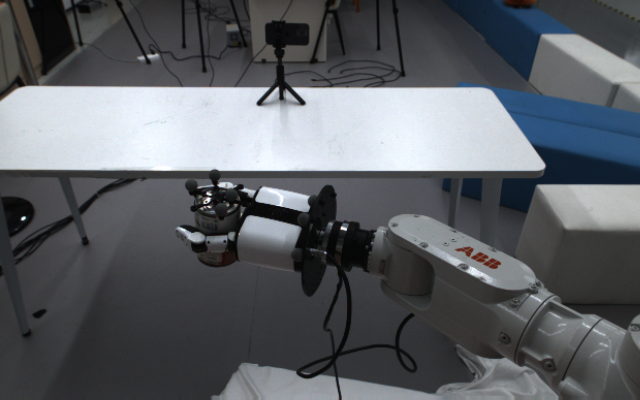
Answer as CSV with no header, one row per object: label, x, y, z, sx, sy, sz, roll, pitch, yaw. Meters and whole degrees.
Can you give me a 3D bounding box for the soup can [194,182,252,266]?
soup can,-0.150,0.042,0.716,0.067,0.101,0.067,5,37,-4
